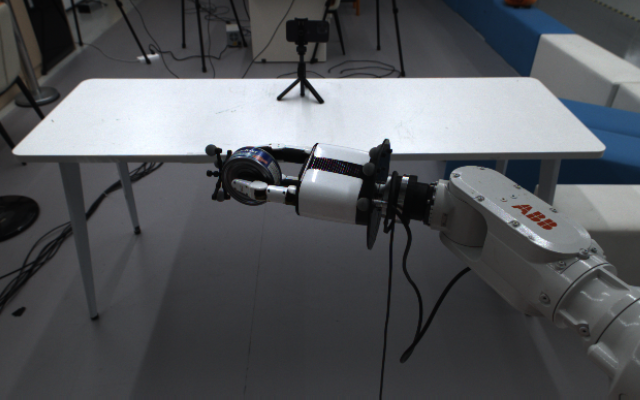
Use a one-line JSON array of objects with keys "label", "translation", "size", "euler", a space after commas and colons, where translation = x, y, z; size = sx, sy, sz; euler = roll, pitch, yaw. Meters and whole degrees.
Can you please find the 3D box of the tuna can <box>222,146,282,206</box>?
[{"label": "tuna can", "translation": [-0.101, -0.036, 0.723], "size": [0.085, 0.085, 0.034], "euler": [9, 34, 10]}]
